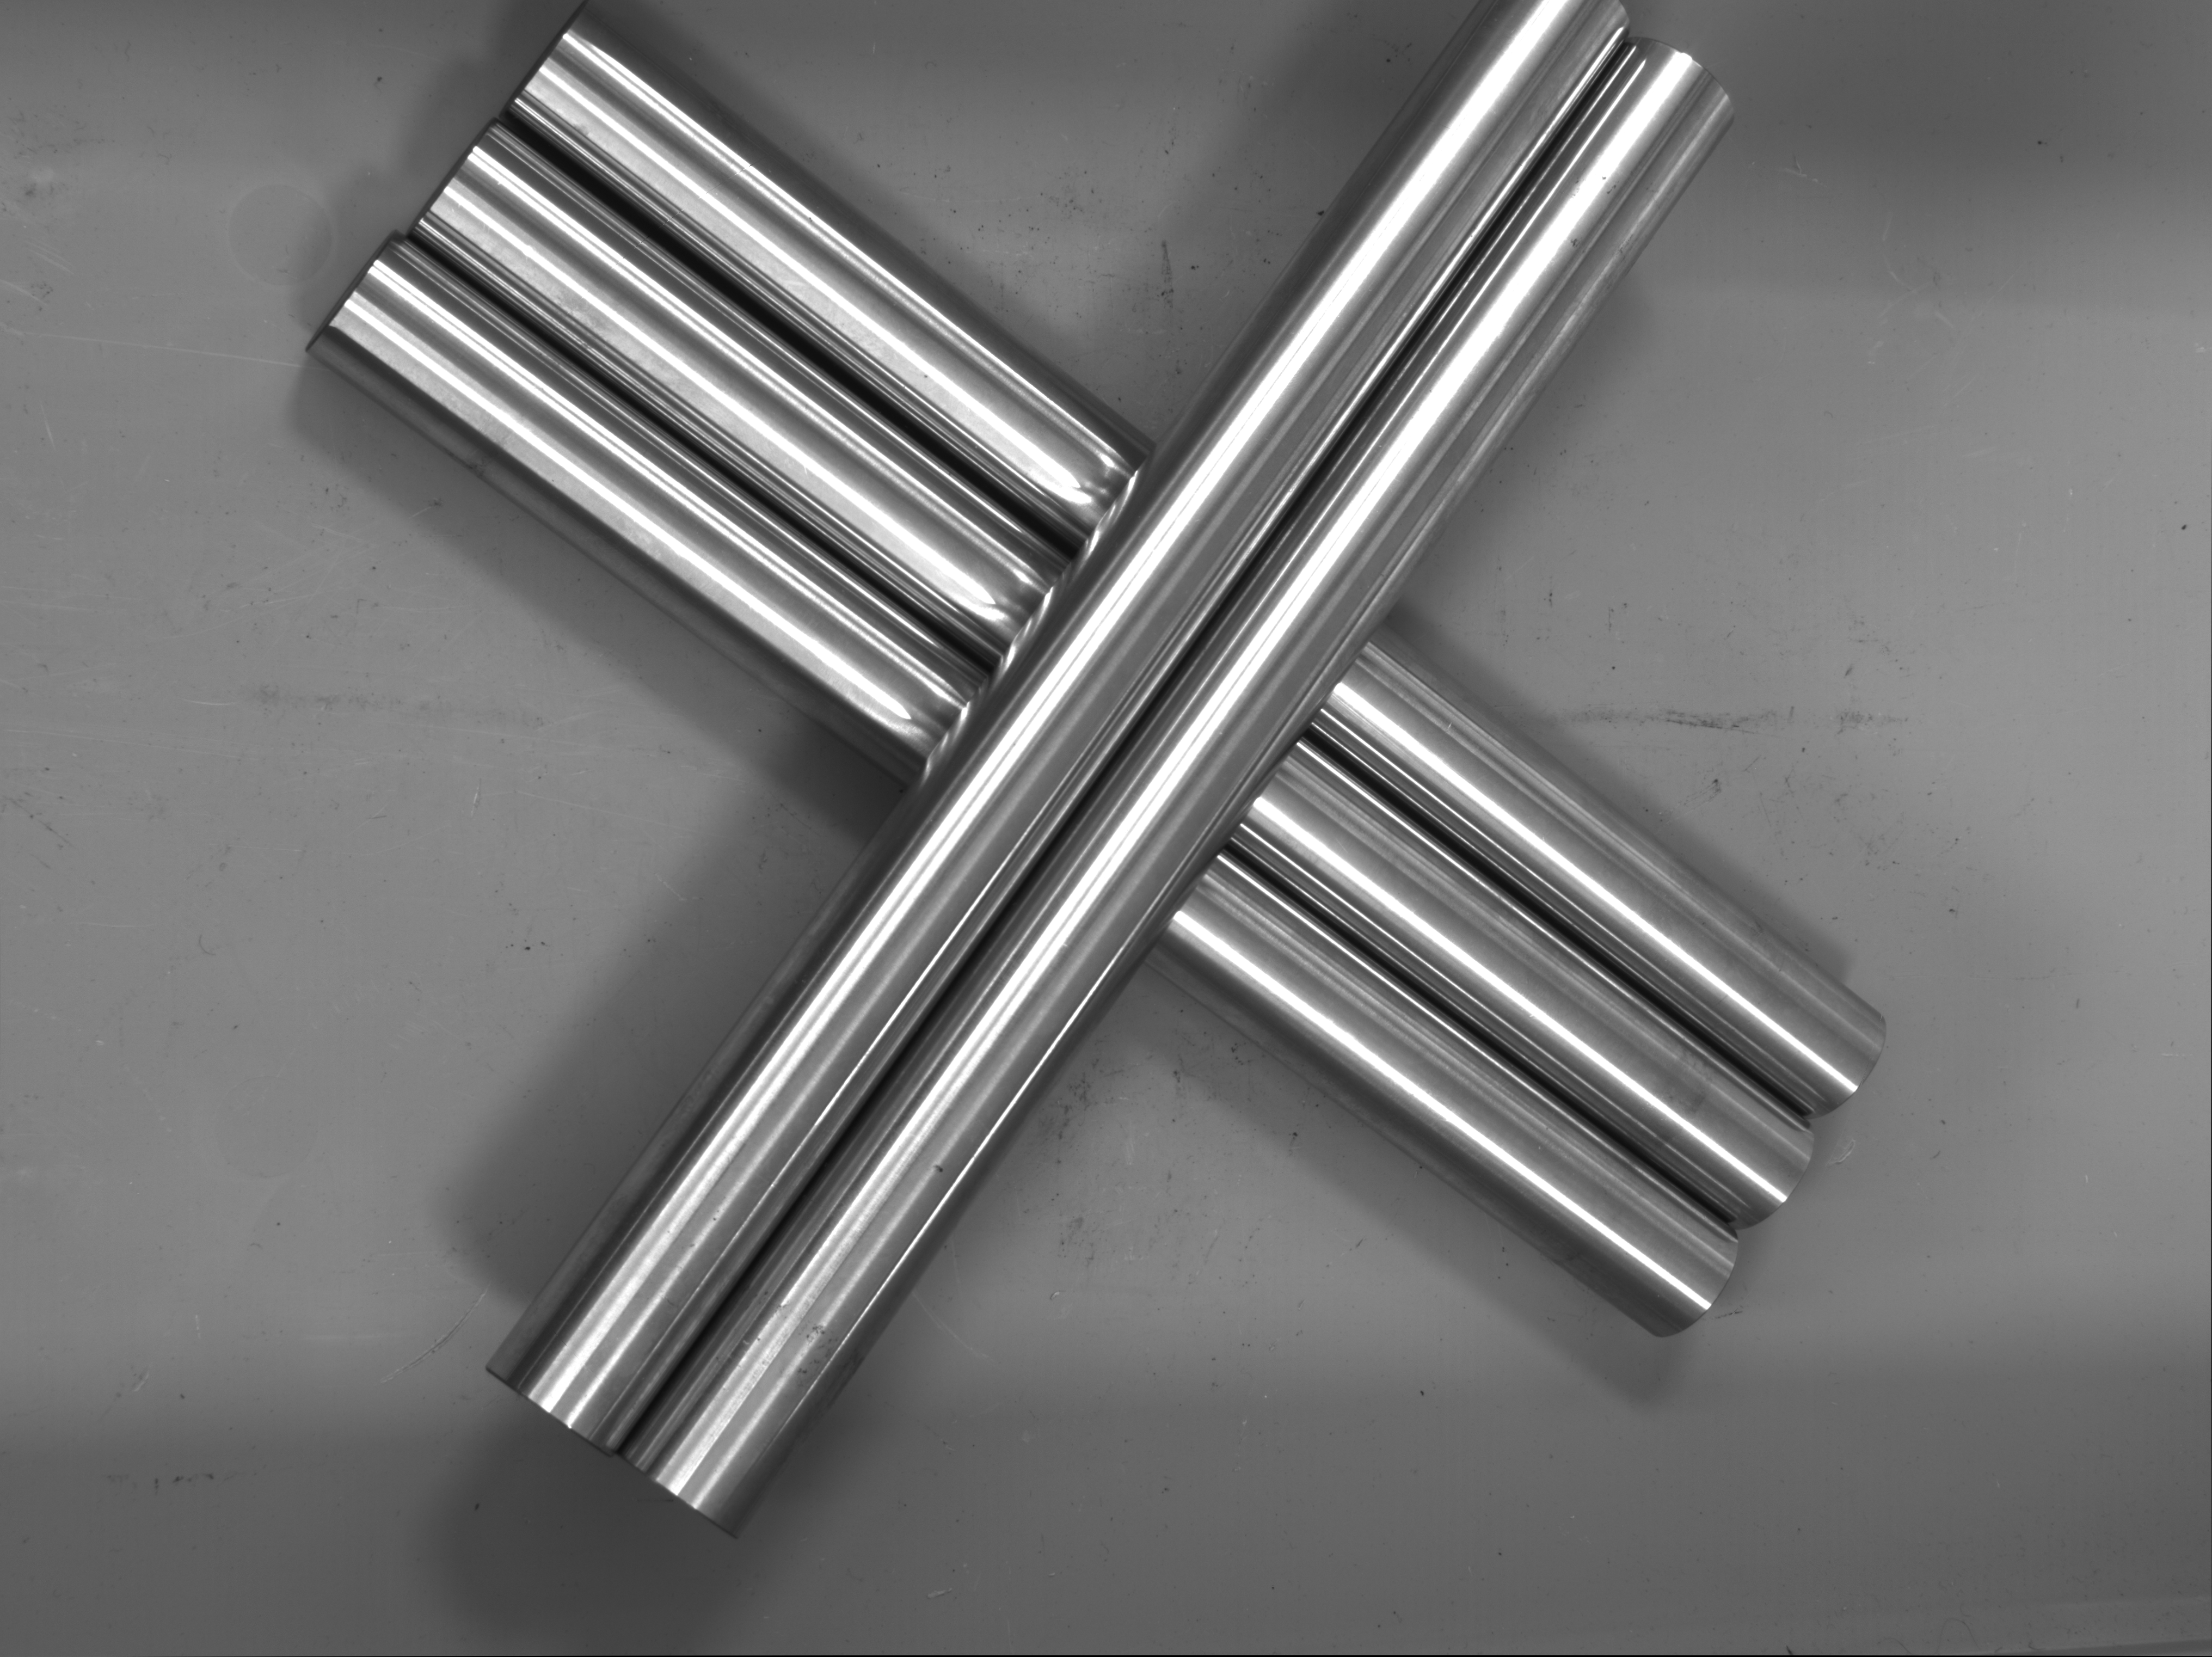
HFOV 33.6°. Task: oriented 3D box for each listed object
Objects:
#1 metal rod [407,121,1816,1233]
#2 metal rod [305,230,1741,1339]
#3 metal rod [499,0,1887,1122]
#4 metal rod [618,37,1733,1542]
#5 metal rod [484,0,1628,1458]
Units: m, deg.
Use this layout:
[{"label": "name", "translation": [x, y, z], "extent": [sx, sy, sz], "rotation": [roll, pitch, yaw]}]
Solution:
[{"label": "metal rod", "translation": [0.008, -0.021, 0.644], "extent": [0.301, 0.025, 0.025], "rotation": [36, 78, -16]}, {"label": "metal rod", "translation": [-0.007, -0.002, 0.639], "extent": [0.301, 0.025, 0.025], "rotation": [36, 78, -16]}, {"label": "metal rod", "translation": [0.022, -0.041, 0.650], "extent": [0.301, 0.025, 0.025], "rotation": [37, 78, -16]}, {"label": "metal rod", "translation": [0.016, -0.012, 0.621], "extent": [0.025, 0.025, 0.300], "rotation": [39, 78, -16]}, {"label": "metal rod", "translation": [-0.004, -0.027, 0.614], "extent": [0.025, 0.025, 0.300], "rotation": [39, 78, -16]}]
